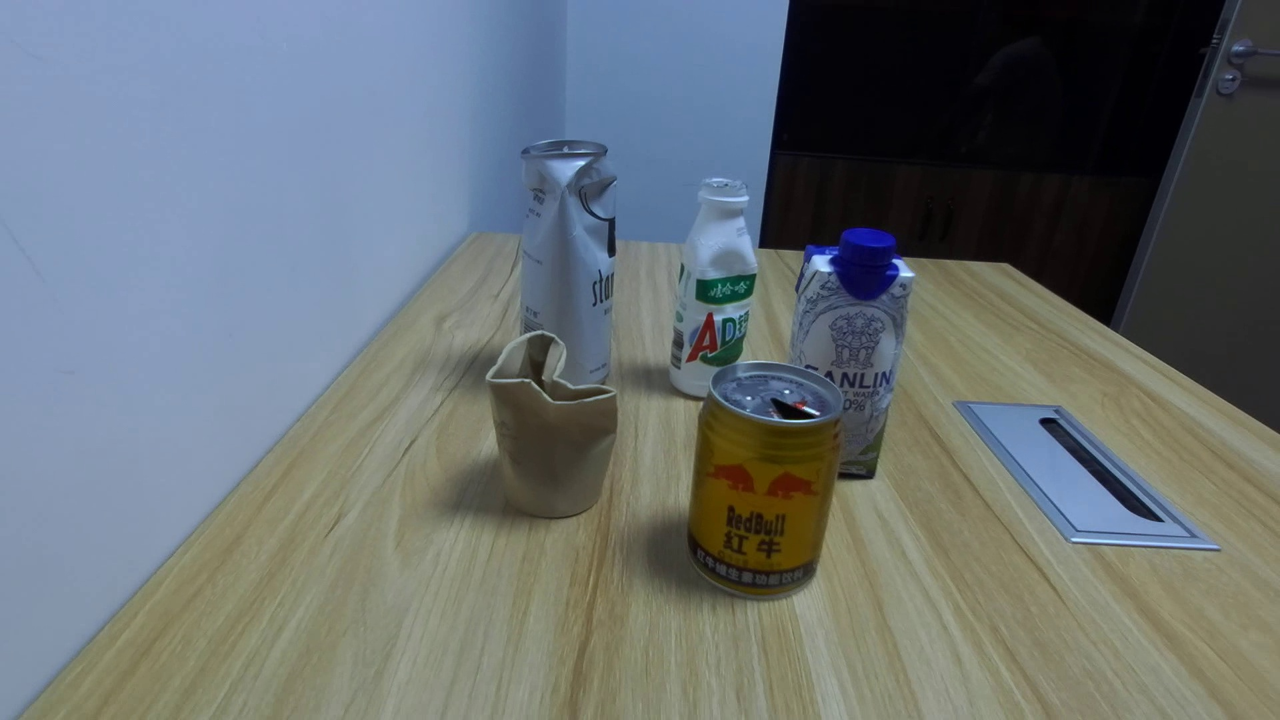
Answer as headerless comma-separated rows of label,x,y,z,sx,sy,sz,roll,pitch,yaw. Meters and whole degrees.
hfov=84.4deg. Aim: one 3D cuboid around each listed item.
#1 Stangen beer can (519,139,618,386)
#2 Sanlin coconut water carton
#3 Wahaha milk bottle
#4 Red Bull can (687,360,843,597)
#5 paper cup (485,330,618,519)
Stangen beer can,-0.050,-0.061,0.482,0.065,0.166,0.066,20,31,33
Sanlin coconut water carton,0.117,-0.005,0.410,0.060,0.144,0.060,3,23,1
Wahaha milk bottle,0.051,-0.049,0.487,0.055,0.149,0.055,3,22,-1
Red Bull can,0.058,0.057,0.338,0.067,0.093,0.067,4,22,-1
paper cup,-0.042,0.036,0.371,0.058,0.083,0.066,8,27,5
